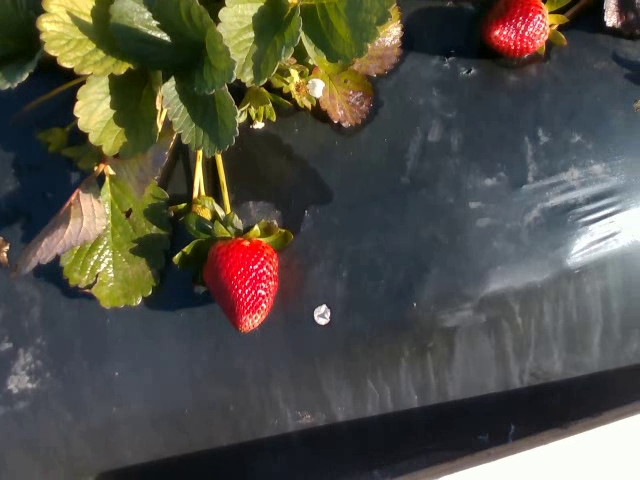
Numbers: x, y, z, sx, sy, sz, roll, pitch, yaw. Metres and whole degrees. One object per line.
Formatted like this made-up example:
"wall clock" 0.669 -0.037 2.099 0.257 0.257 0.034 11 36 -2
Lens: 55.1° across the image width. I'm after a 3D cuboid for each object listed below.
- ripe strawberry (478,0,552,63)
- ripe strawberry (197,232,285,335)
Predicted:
"ripe strawberry" 0.099 -0.109 0.310 0.046 0.035 0.035 -15 -4 -15
"ripe strawberry" -0.037 0.023 0.293 0.045 0.055 0.042 -6 -35 -10
